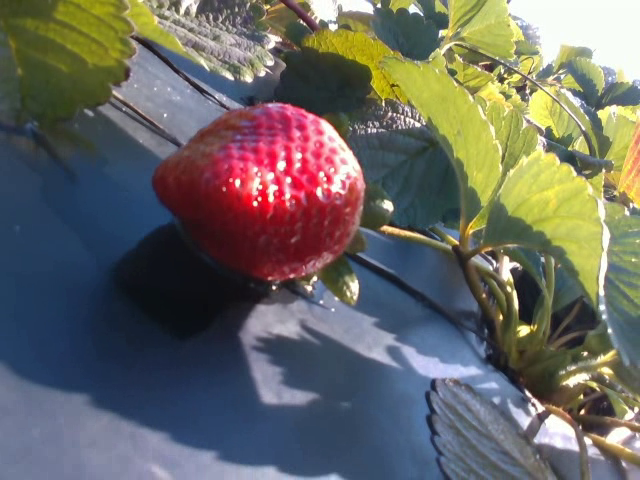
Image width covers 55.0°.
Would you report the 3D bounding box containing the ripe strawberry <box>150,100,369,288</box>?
[{"bbox_3d":[-0.012,-0.008,0.117,0.045,0.041,0.056,-12,-2,19],"label":"ripe strawberry"}]
